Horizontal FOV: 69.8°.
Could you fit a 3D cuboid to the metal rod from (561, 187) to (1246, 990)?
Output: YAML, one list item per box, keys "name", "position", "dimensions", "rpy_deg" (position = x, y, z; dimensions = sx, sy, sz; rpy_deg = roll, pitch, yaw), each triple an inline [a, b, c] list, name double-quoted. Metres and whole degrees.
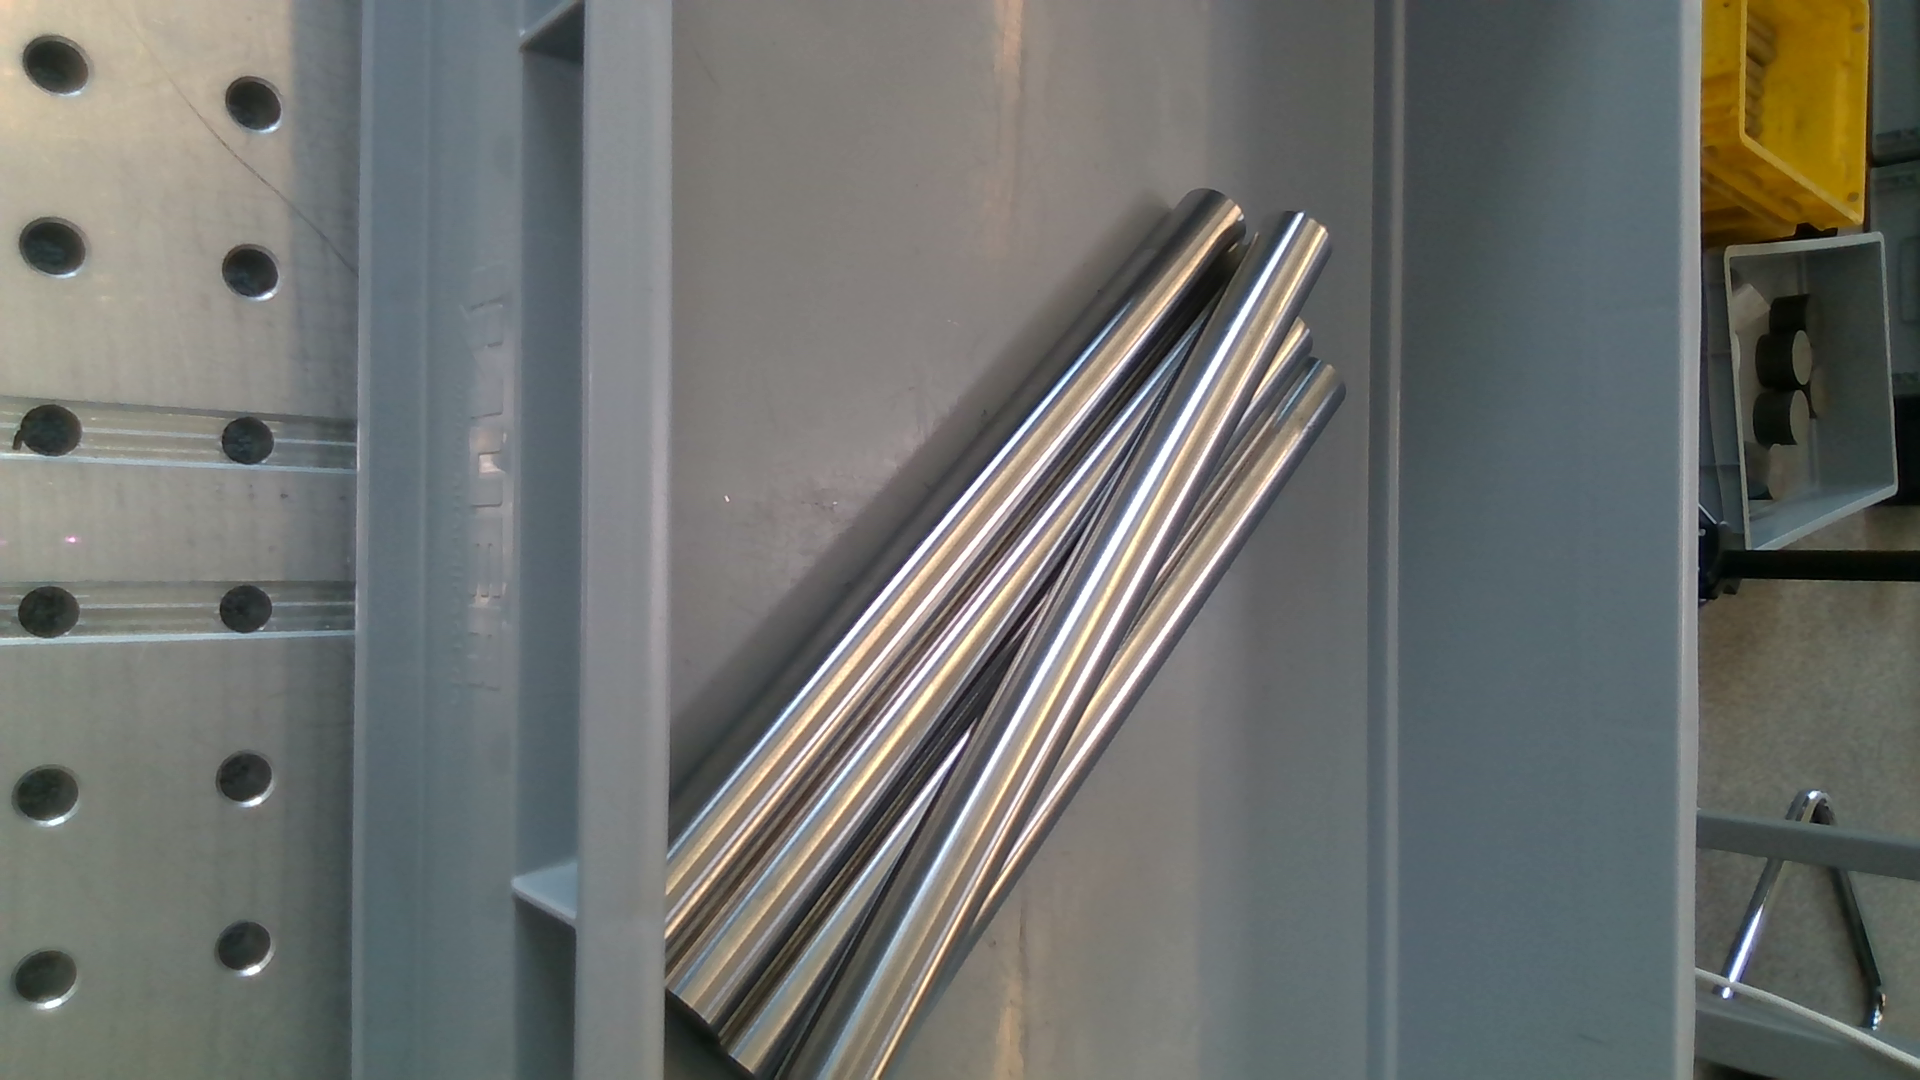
- name: "metal rod"
  position: [0.001, -0.005, 0.391]
  dimensions: [0.299, 0.025, 0.025]
  rpy_deg: [-51, 120, -28]

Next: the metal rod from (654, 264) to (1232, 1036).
- name: "metal rod"
  position: [0.016, 0.010, 0.404]
  dimensions: [0.299, 0.025, 0.025]
  rpy_deg: [-51, 120, -28]

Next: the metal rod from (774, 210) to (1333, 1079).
- name: "metal rod"
  position: [0.038, 0.019, 0.389]
  dimensions: [0.025, 0.025, 0.299]
  rpy_deg: [46, 62, -30]

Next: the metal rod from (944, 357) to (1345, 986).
- name: "metal rod"
  position: [0.043, 0.045, 0.427]
  dimensions: [0.299, 0.025, 0.025]
  rpy_deg: [-51, 120, -28]

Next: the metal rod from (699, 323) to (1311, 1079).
- name: "metal rod"
  position: [0.028, 0.029, 0.414]
  dimensions: [0.299, 0.025, 0.025]
  rpy_deg: [-51, 120, -28]
